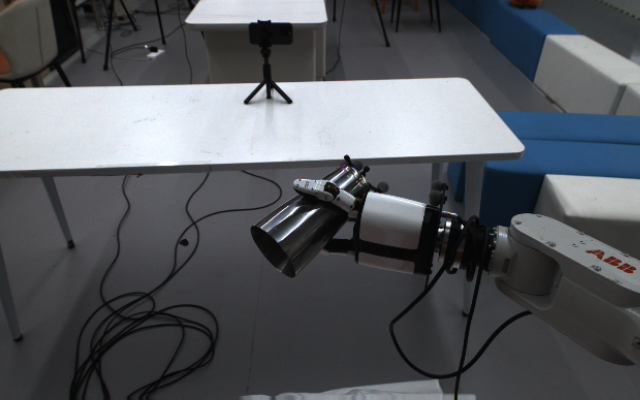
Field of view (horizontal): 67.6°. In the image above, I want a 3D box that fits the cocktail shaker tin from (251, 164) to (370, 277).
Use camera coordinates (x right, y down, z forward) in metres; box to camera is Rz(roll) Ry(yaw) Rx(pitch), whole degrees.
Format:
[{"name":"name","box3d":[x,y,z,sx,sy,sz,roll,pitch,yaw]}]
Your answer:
[{"name":"cocktail shaker tin","box3d":[-0.006,0.018,0.702,0.170,0.093,0.093,-38,50,-24]}]
